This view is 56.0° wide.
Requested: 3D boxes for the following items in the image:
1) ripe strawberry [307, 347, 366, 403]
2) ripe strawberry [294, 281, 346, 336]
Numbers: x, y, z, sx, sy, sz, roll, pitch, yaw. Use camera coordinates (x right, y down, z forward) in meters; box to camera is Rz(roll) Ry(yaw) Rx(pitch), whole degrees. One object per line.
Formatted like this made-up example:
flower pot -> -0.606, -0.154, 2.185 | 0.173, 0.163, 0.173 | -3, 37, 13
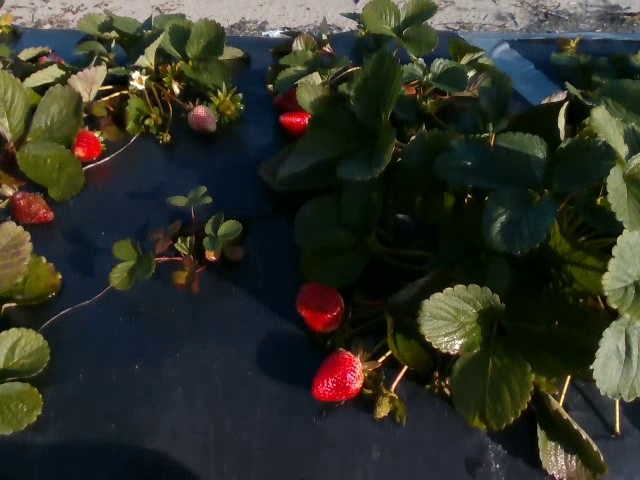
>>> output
ripe strawberry -> 0.012, 0.112, 0.475 | 0.053, 0.043, 0.039 | -25, -17, -39
ripe strawberry -> 0.000, 0.061, 0.522 | 0.054, 0.048, 0.039 | 29, -7, -12
